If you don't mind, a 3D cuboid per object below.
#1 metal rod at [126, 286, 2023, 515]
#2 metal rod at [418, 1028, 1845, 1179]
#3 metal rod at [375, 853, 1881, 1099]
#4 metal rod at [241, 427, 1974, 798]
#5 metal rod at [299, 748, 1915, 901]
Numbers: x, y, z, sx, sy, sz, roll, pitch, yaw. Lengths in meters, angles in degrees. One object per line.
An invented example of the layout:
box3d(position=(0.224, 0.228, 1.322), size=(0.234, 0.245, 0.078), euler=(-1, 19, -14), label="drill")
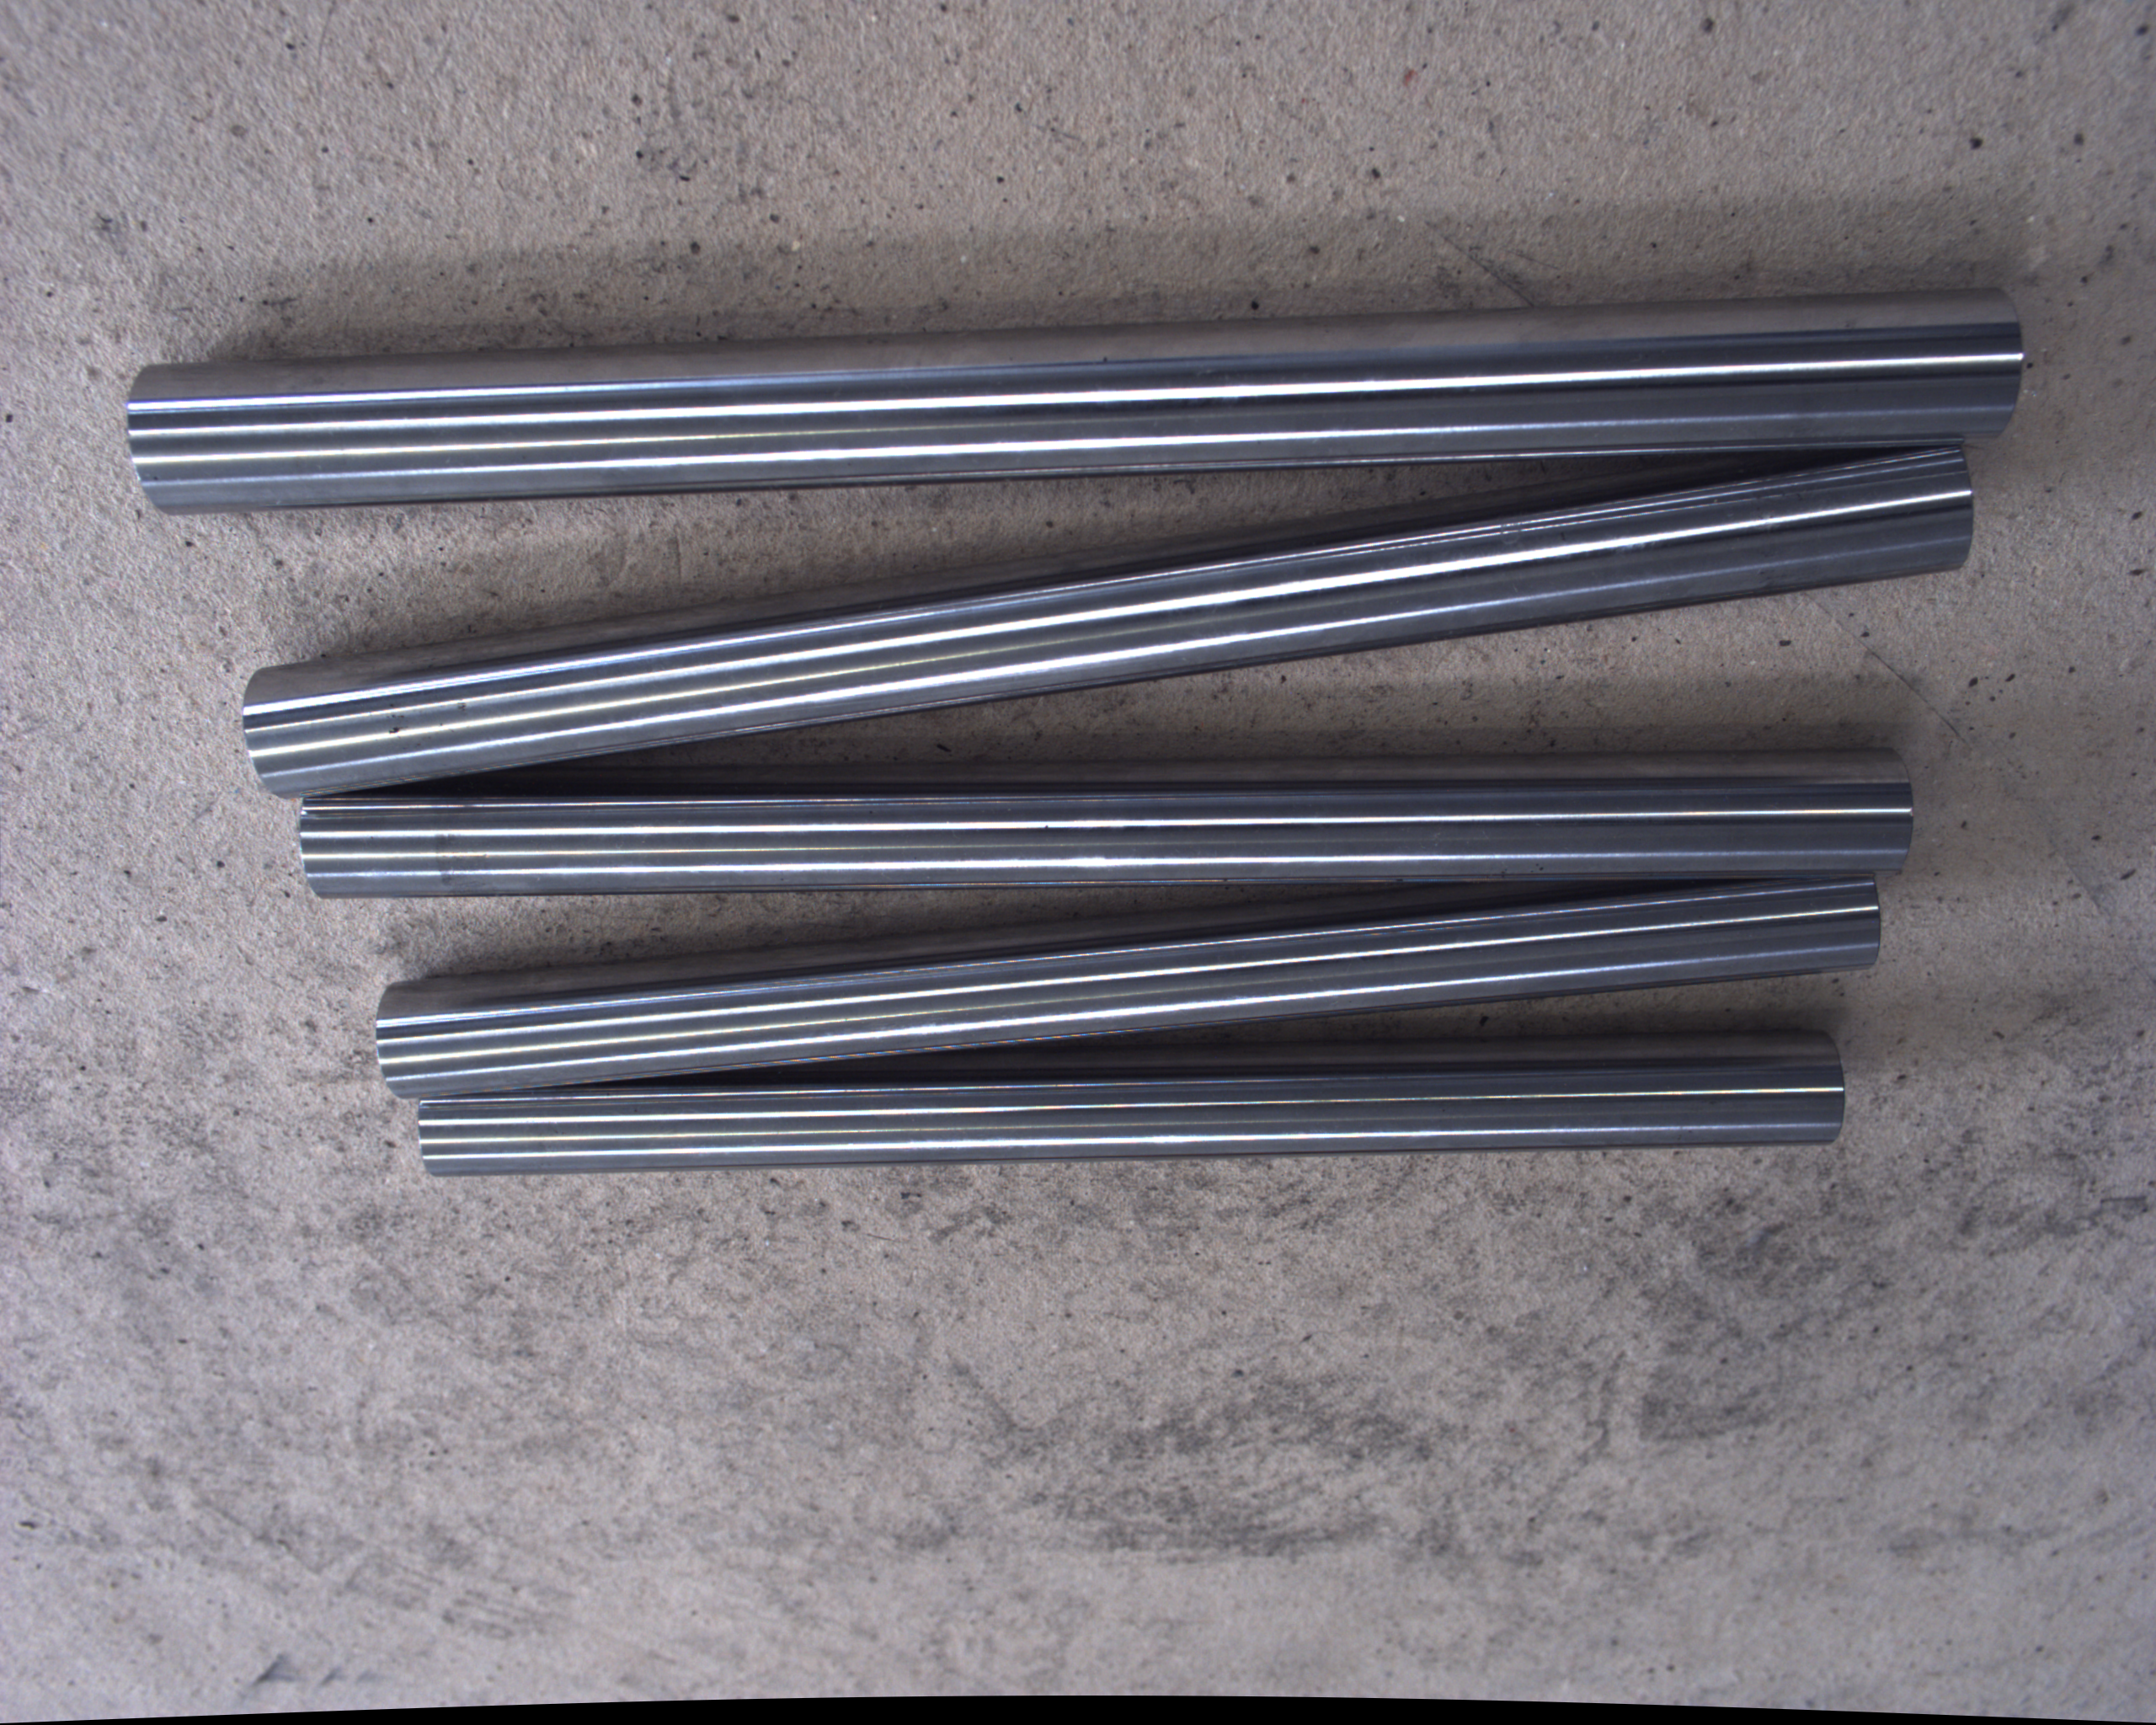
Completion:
box3d(position=(-0.002, -0.076, 0.344), size=(0.302, 0.025, 0.025), euler=(-2, 130, 1), label="metal rod")
box3d(position=(0.011, 0.052, 0.454), size=(0.302, 0.025, 0.025), euler=(-2, 130, 1), label="metal rod")
box3d(position=(0.007, 0.023, 0.428), size=(0.302, 0.025, 0.025), euler=(-5, 130, 4), label="metal rod")
box3d(position=(0.000, -0.043, 0.372), size=(0.302, 0.025, 0.025), euler=(-7, 130, 6), label="metal rod")
box3d(position=(0.005, -0.007, 0.402), size=(0.302, 0.025, 0.025), euler=(-1, 130, 0), label="metal rod")
